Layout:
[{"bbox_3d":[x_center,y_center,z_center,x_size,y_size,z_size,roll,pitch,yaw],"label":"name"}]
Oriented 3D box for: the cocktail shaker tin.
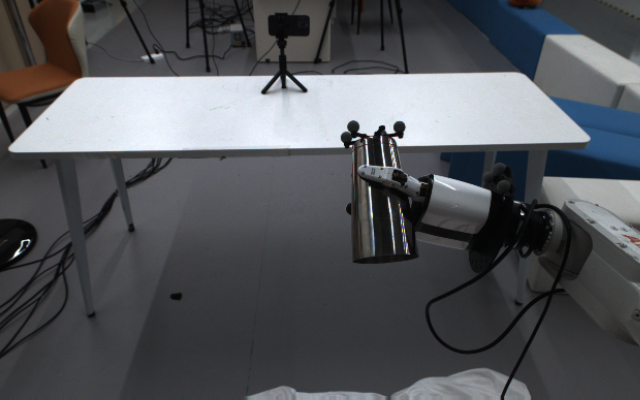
[{"bbox_3d":[0.086,0.000,0.689,0.093,0.093,0.170,-3,76,-8],"label":"cocktail shaker tin"}]
